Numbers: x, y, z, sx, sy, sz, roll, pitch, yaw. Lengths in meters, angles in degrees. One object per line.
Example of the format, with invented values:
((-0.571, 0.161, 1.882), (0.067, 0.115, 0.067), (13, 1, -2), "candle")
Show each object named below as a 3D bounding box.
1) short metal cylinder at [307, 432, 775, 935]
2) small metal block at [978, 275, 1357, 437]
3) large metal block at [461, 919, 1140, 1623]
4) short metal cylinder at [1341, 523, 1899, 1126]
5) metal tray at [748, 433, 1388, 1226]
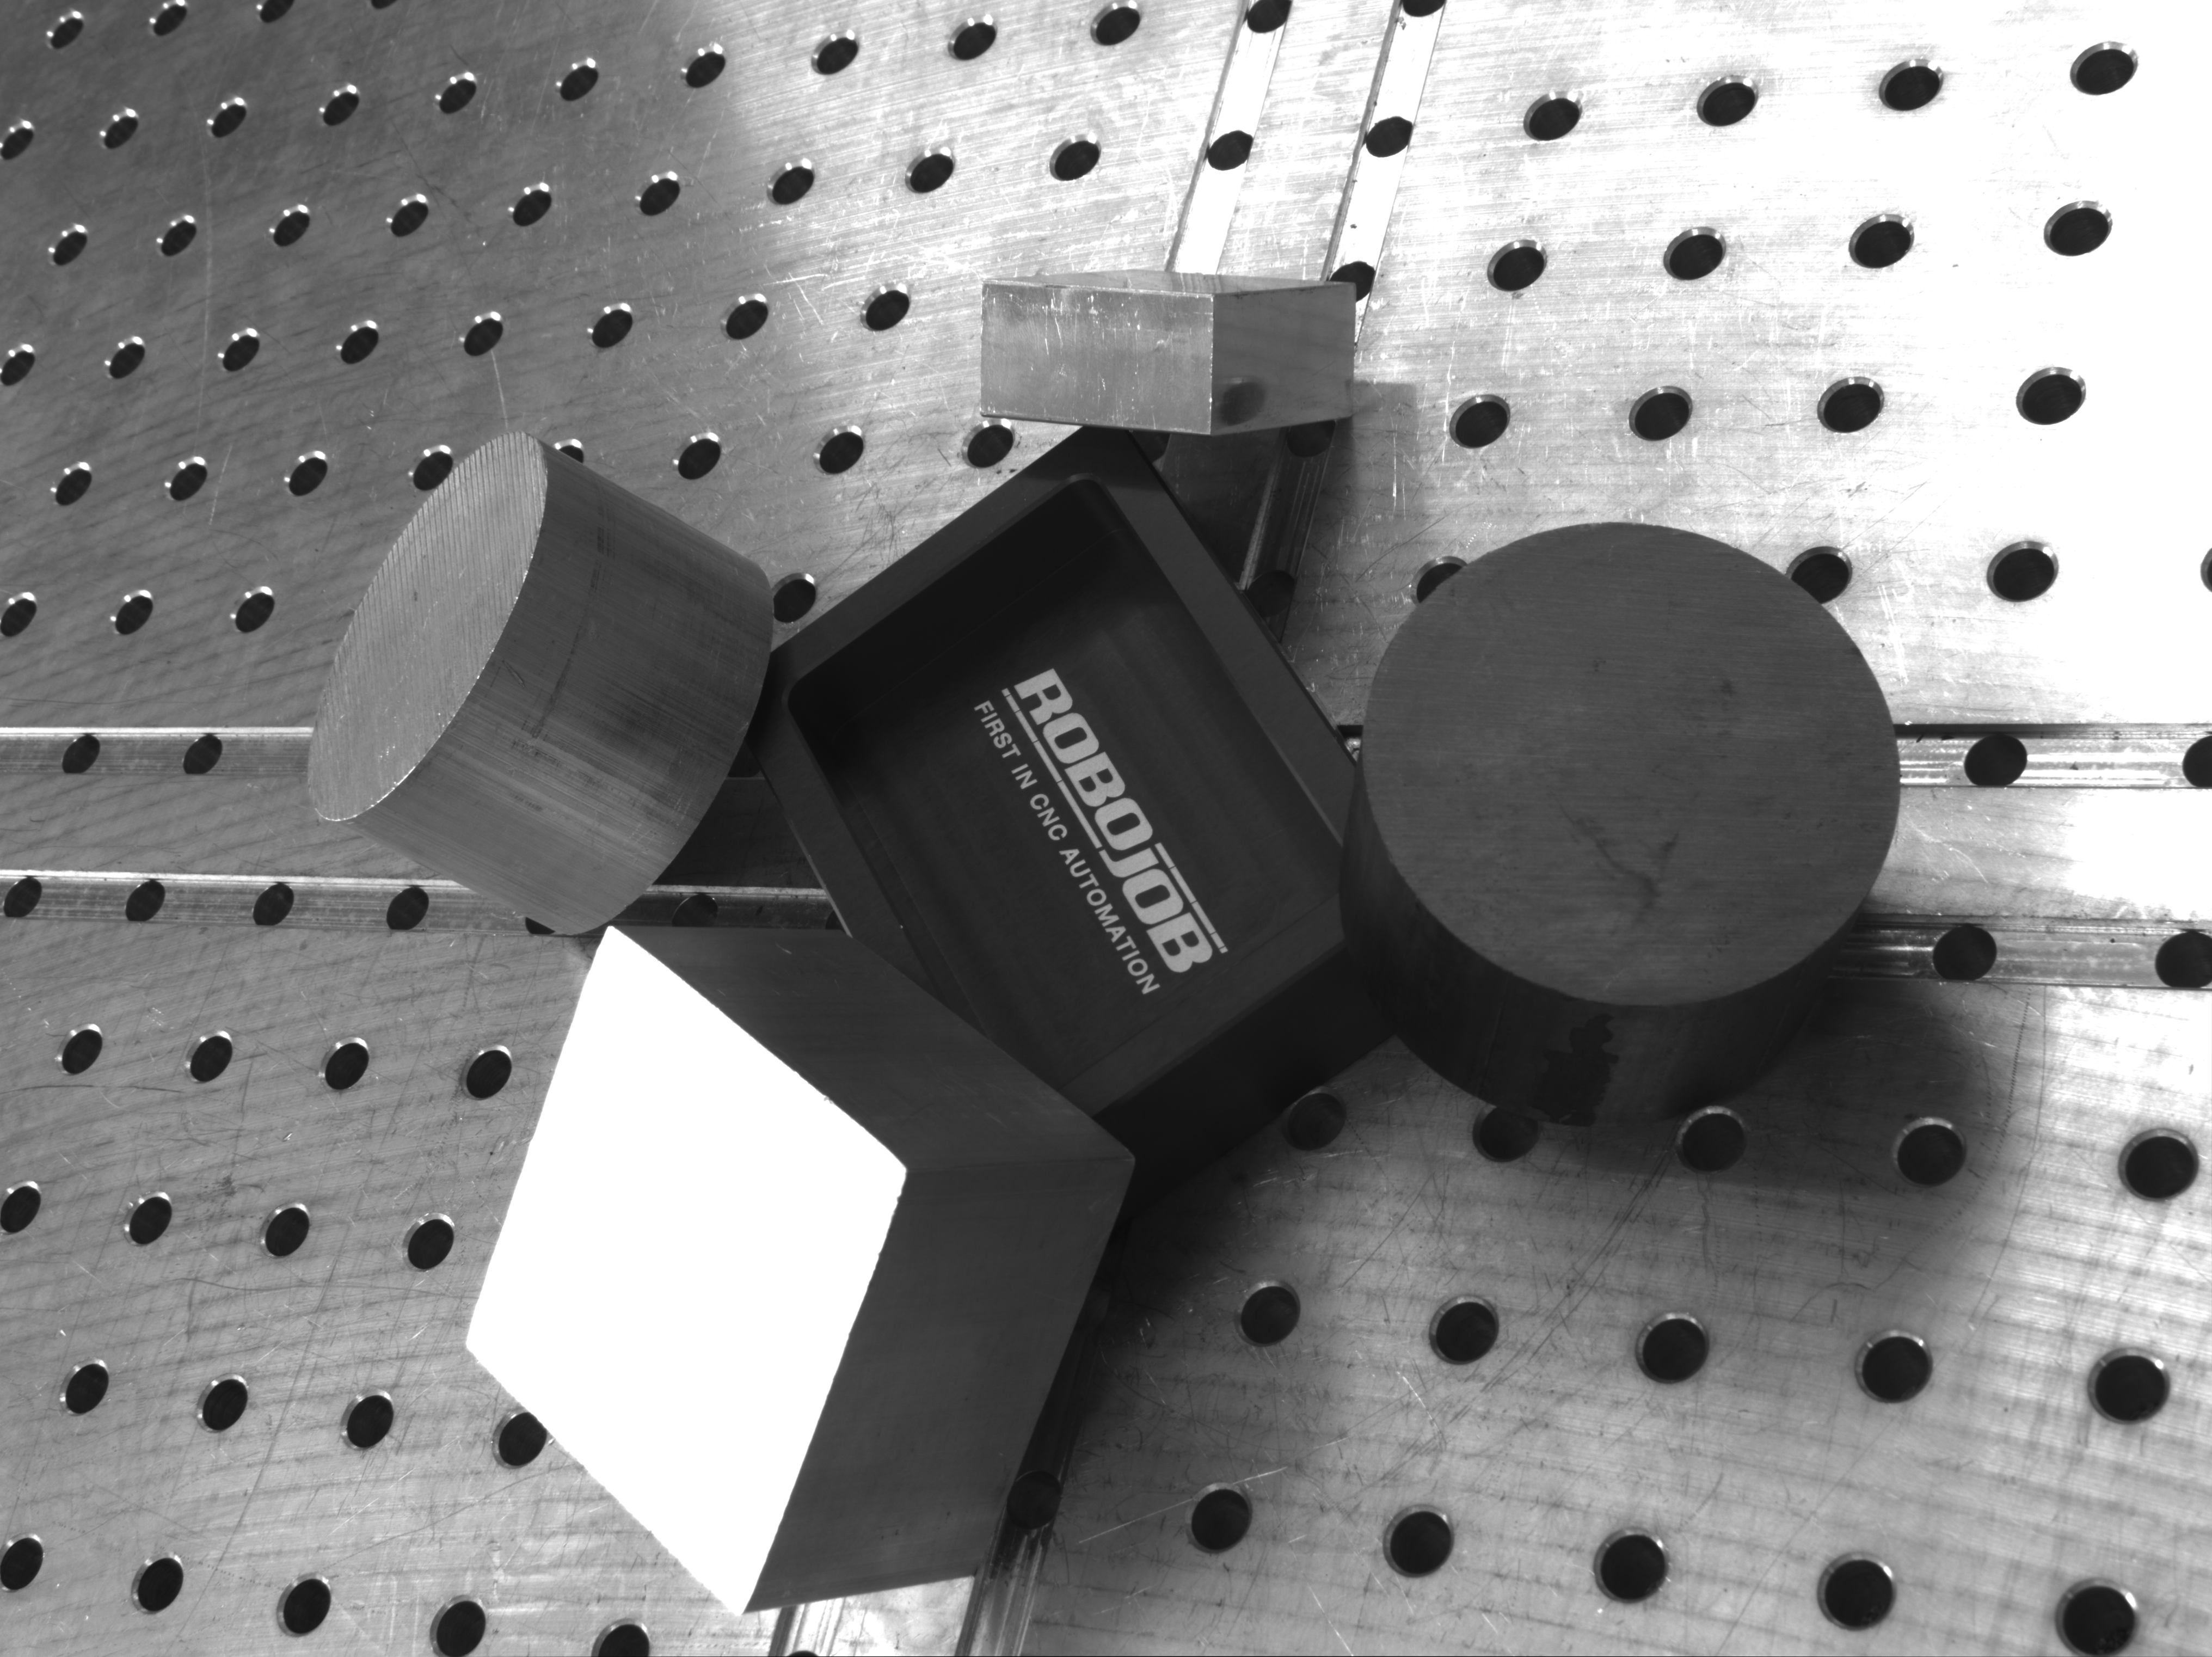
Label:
((-0.106, -0.027, 0.687), (0.080, 0.050, 0.080), (-37, 37, 35), "short metal cylinder")
((0.012, -0.088, 0.677), (0.050, 0.050, 0.025), (9, 104, 33), "small metal block")
((-0.051, 0.069, 0.595), (0.080, 0.050, 0.080), (35, 112, 38), "large metal block")
((0.078, 0.000, 0.570), (0.080, 0.050, 0.080), (0, 65, -1), "short metal cylinder")
((-0.003, -0.002, 0.648), (0.090, 0.030, 0.130), (-36, 51, 5), "metal tray")
